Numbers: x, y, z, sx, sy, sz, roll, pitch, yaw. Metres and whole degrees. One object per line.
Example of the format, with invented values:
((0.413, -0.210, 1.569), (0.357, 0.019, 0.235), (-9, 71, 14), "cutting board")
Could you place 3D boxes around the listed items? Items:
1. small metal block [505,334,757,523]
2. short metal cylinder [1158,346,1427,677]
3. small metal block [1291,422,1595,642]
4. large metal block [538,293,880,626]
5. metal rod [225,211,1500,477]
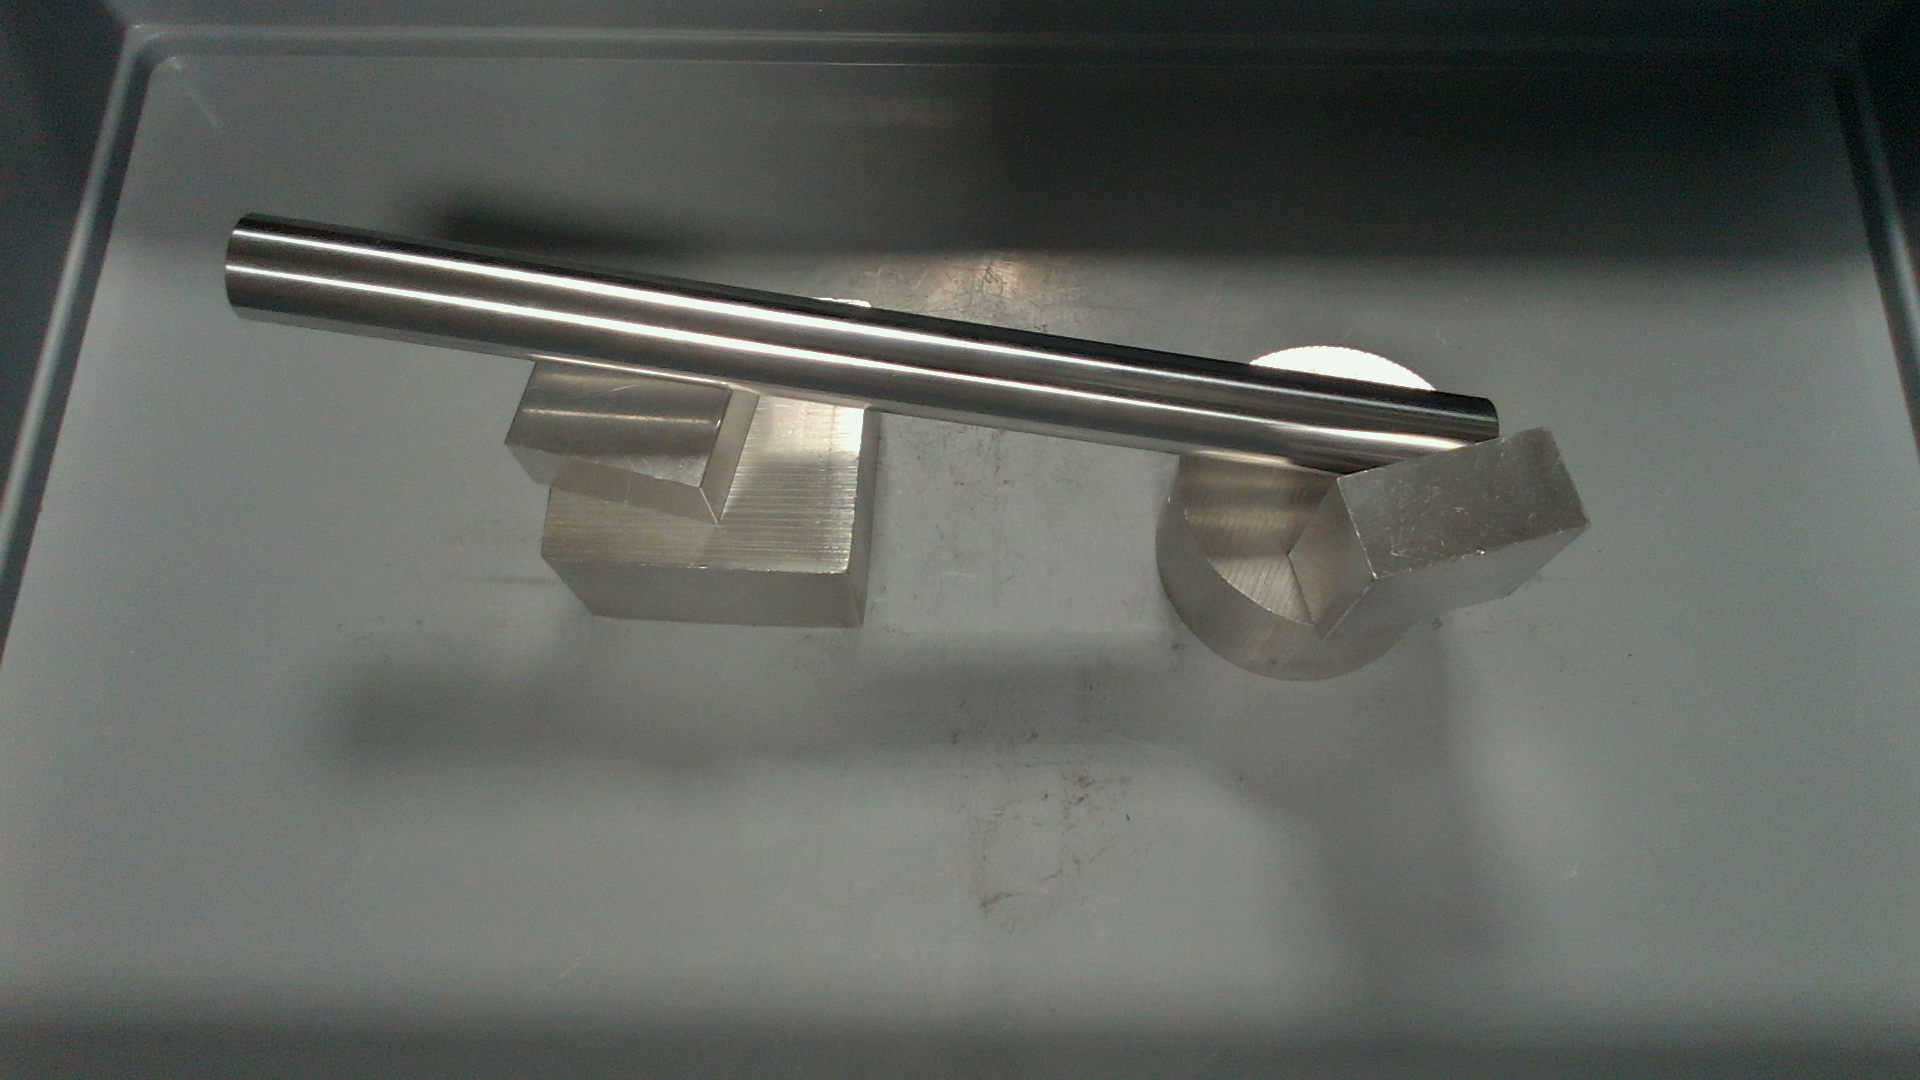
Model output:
((-0.081, -0.037, 0.353), (0.050, 0.025, 0.050), (12, 70, 4), "small metal block")
((0.098, -0.006, 0.382), (0.080, 0.050, 0.080), (0, 70, 0), "short metal cylinder")
((0.112, -0.001, 0.326), (0.050, 0.050, 0.025), (-14, 71, -5), "small metal block")
((-0.066, -0.023, 0.387), (0.080, 0.050, 0.080), (2, 70, 1), "large metal block")
((-0.017, -0.044, 0.334), (0.300, 0.025, 0.025), (8, 70, -5), "metal rod")
